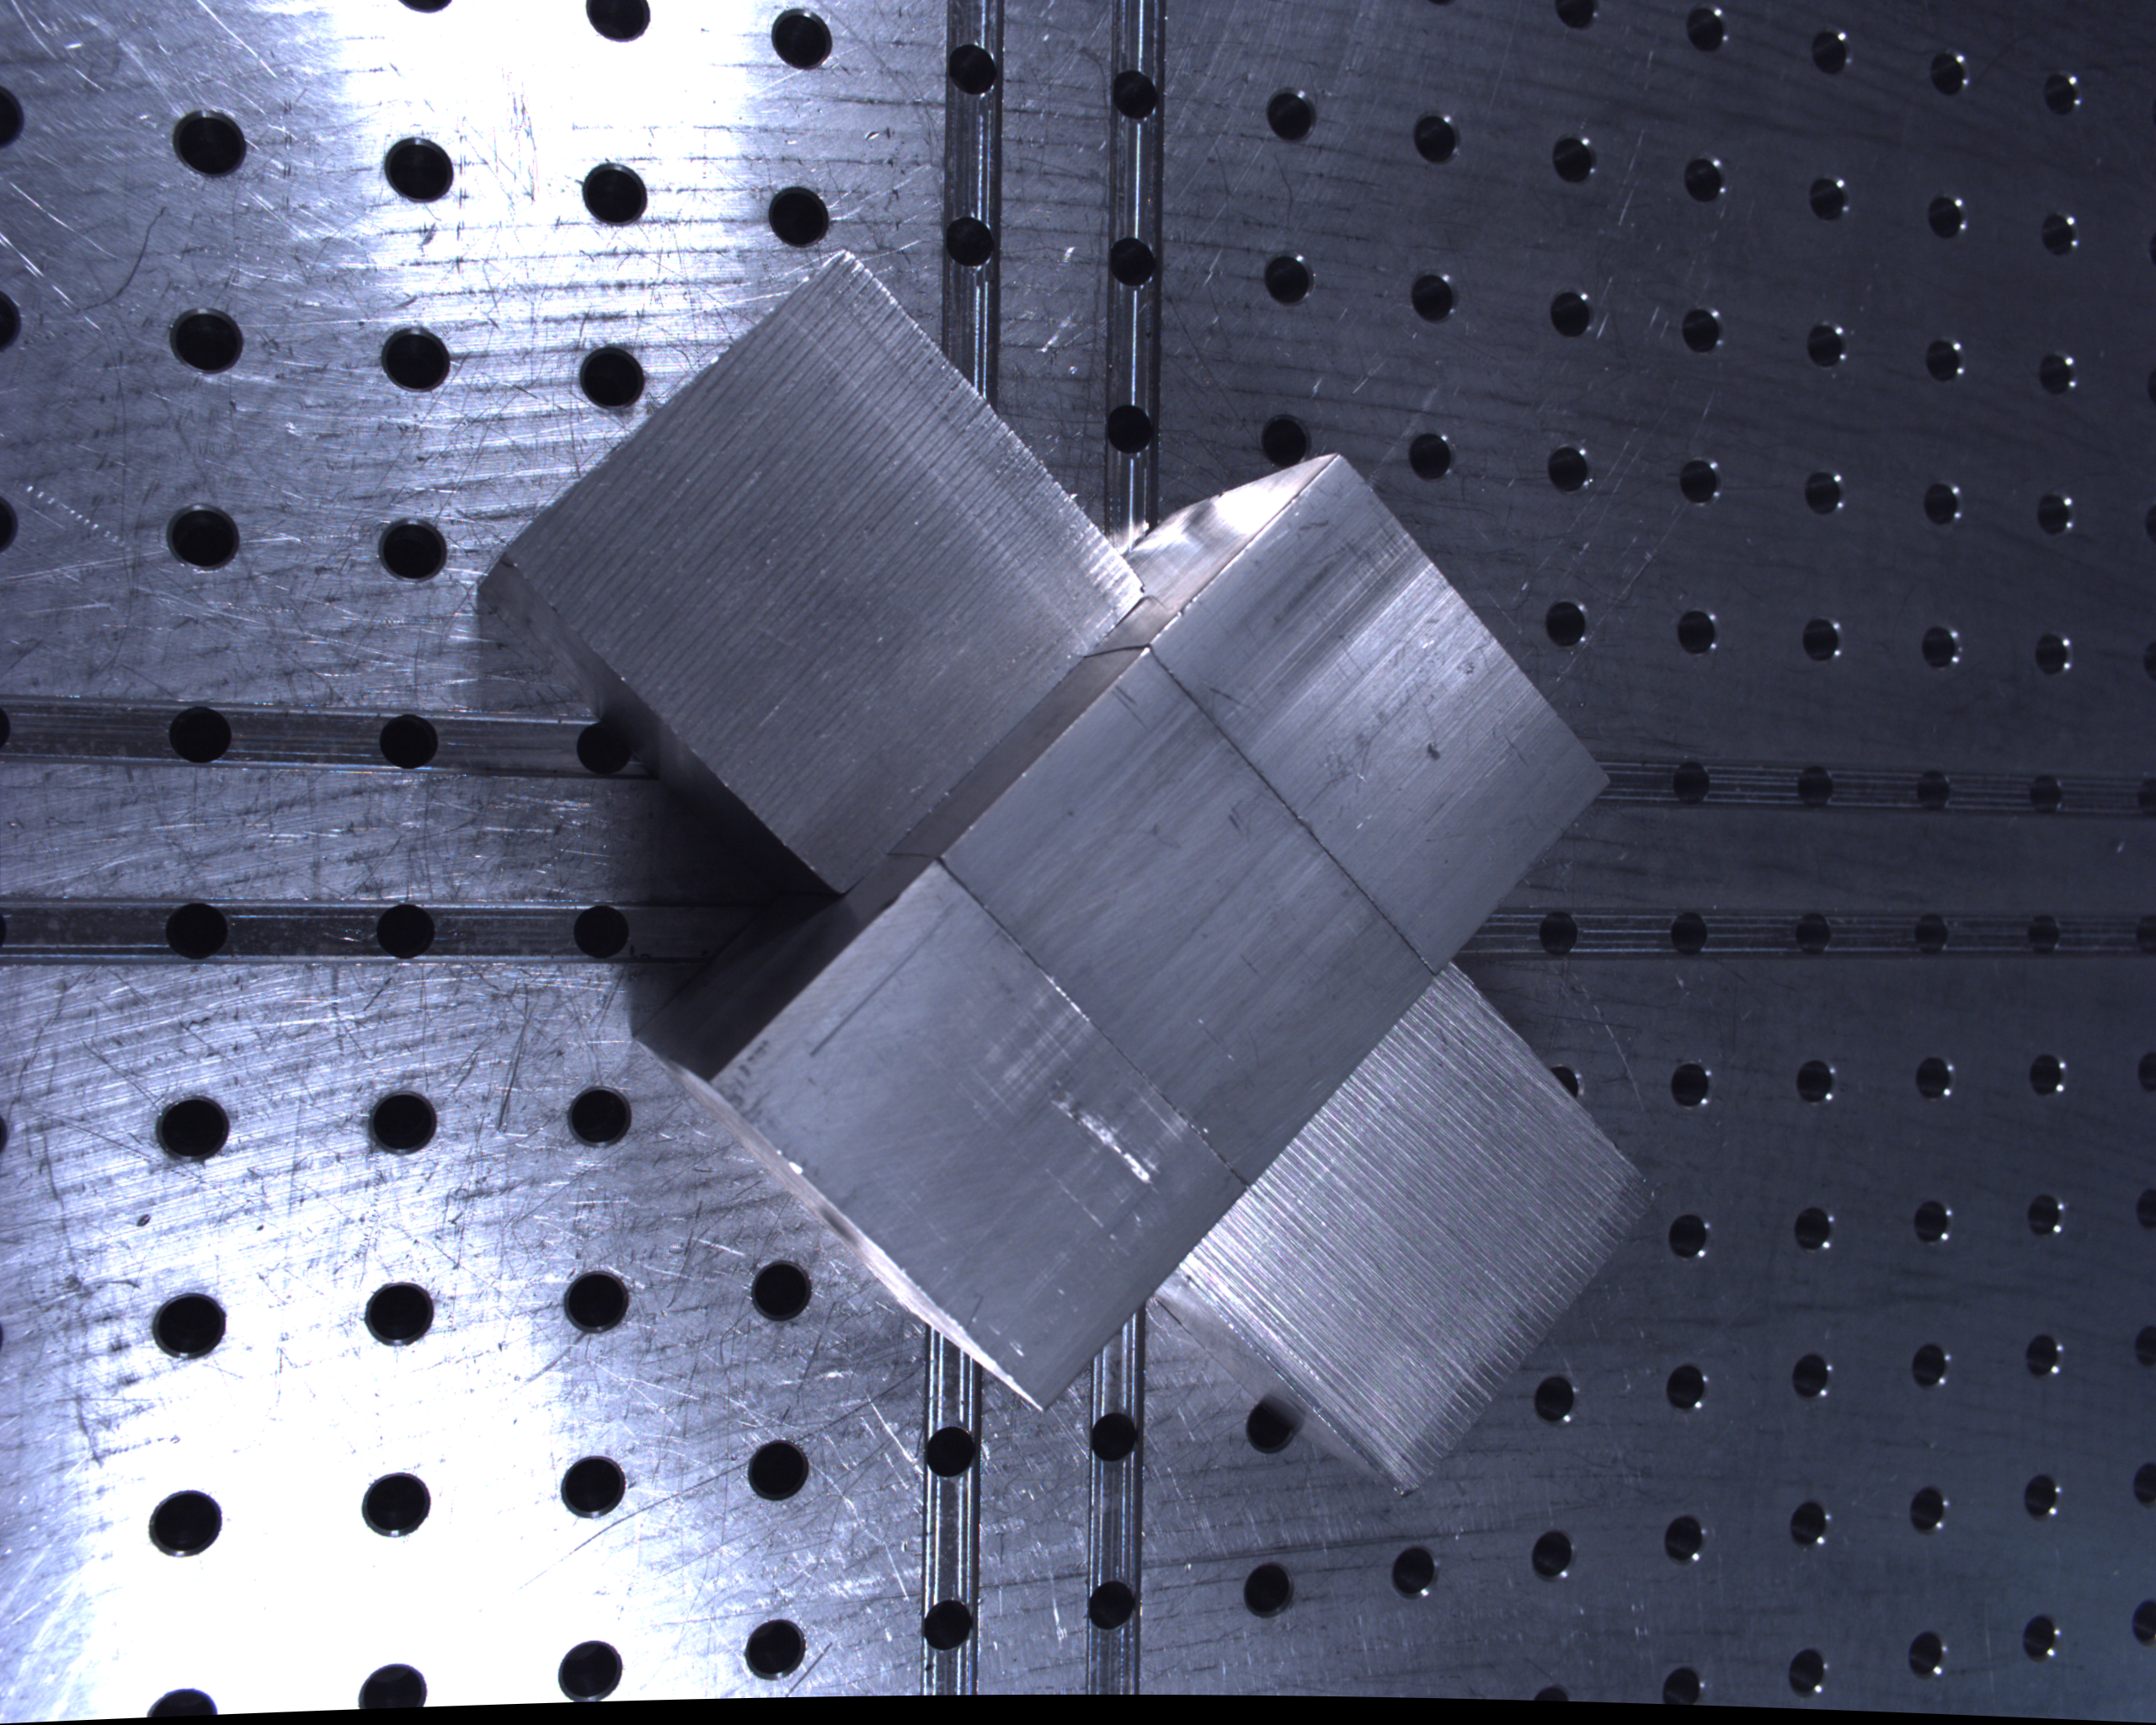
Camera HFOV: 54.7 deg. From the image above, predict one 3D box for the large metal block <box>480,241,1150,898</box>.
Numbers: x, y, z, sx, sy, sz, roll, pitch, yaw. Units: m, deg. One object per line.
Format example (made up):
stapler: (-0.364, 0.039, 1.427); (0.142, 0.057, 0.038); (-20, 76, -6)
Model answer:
large metal block: (-0.048, -0.050, 0.379); (0.080, 0.050, 0.080); (-47, 105, -13)

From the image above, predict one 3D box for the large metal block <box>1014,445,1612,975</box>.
large metal block: (0.040, -0.026, 0.400); (0.050, 0.080, 0.080); (-46, 105, -14)

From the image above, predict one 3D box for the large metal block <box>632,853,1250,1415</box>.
large metal block: (-0.028, 0.044, 0.374); (0.050, 0.080, 0.080); (-46, 105, -14)

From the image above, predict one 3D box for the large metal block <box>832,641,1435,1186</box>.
large metal block: (0.005, 0.009, 0.387); (0.050, 0.080, 0.080); (-46, 105, -14)

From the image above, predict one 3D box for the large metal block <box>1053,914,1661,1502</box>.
large metal block: (0.054, 0.065, 0.421); (0.080, 0.050, 0.080); (-45, 105, -14)
